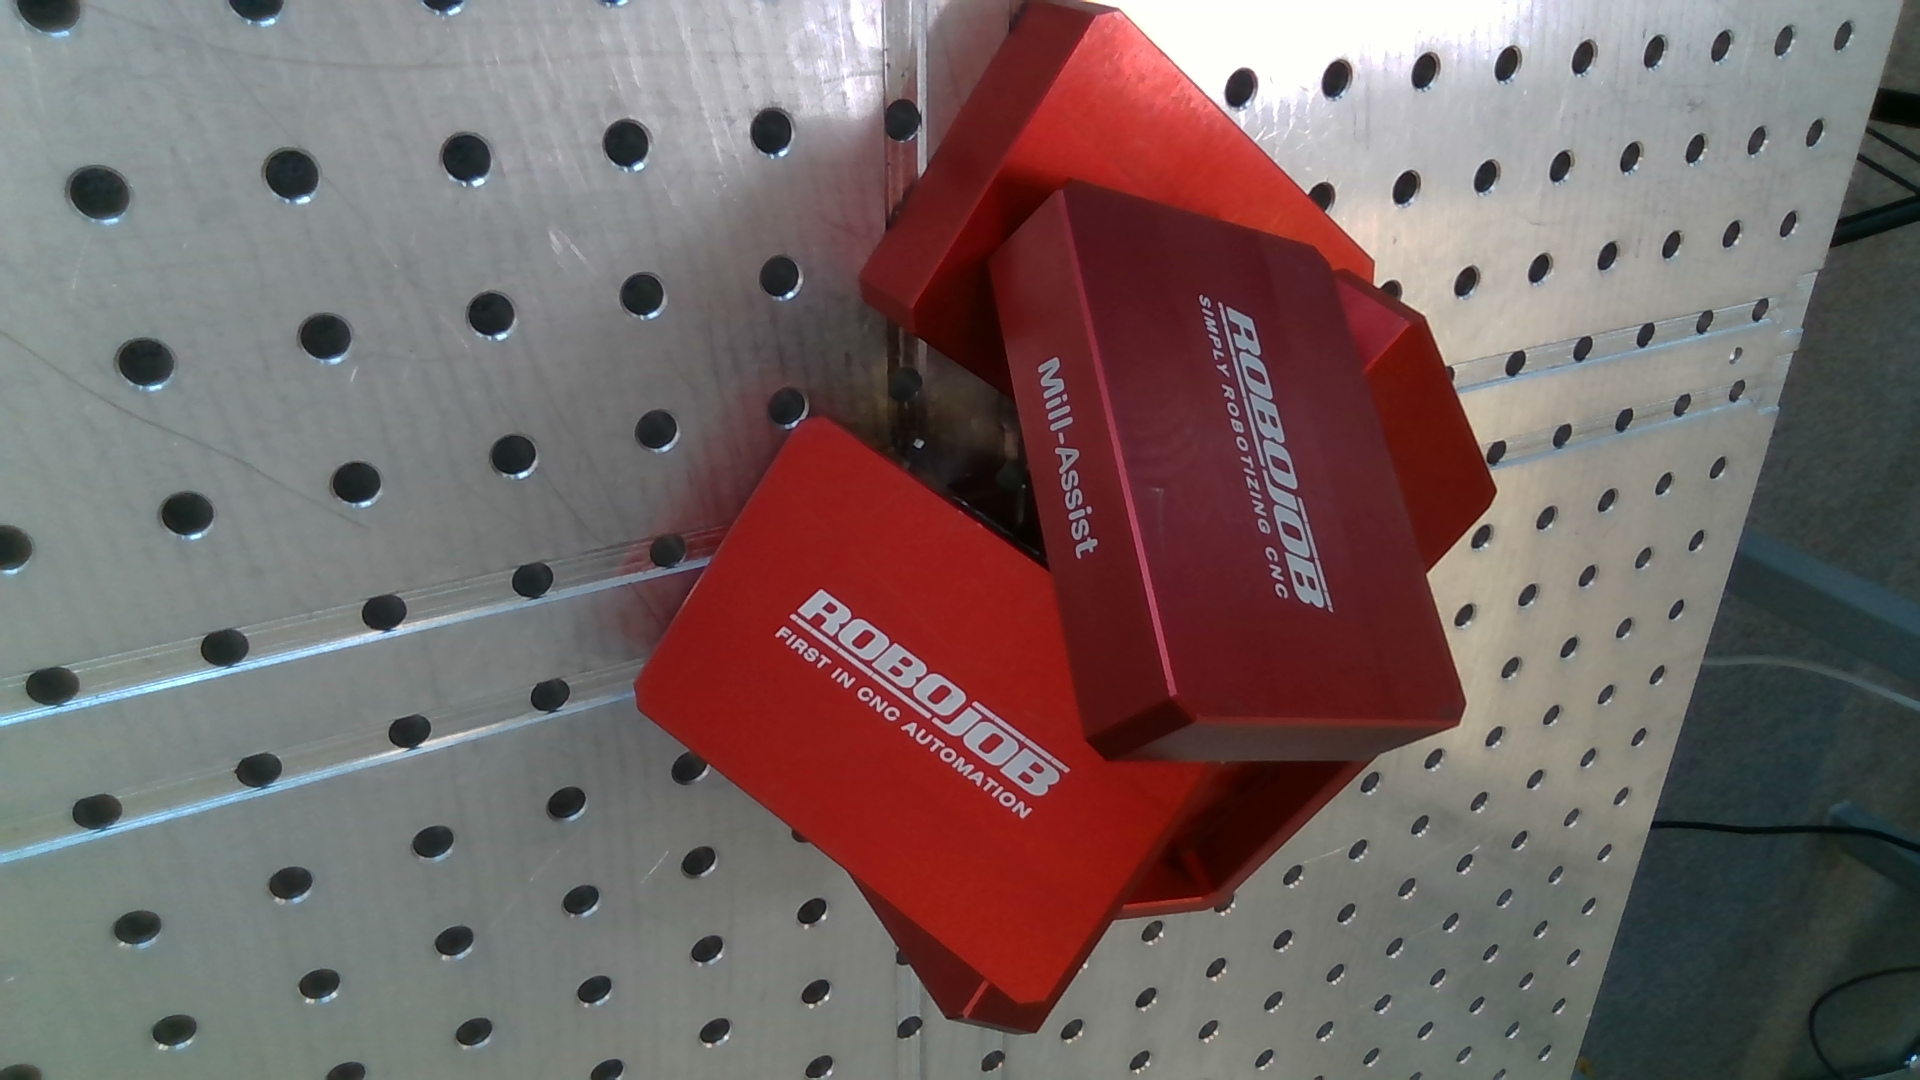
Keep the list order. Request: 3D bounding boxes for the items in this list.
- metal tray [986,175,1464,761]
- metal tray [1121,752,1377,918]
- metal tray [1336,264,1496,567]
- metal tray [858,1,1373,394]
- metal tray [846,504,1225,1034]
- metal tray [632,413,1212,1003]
[{"bbox_3d":[0.061,-0.016,0.324,0.090,0.130,0.030,5,154,-34],"label":"metal tray"},{"bbox_3d":[0.078,0.077,0.447,0.090,0.030,0.130,4,135,-33],"label":"metal tray"},{"bbox_3d":[0.114,-0.014,0.428,0.090,0.030,0.130,-48,143,4],"label":"metal tray"},{"bbox_3d":[0.047,-0.072,0.379,0.130,0.030,0.090,28,99,-39],"label":"metal tray"},{"bbox_3d":[0.022,0.061,0.396,0.030,0.090,0.130,28,98,-39],"label":"metal tray"},{"bbox_3d":[-0.007,0.040,0.348,0.090,0.130,0.030,-57,168,6],"label":"metal tray"}]
